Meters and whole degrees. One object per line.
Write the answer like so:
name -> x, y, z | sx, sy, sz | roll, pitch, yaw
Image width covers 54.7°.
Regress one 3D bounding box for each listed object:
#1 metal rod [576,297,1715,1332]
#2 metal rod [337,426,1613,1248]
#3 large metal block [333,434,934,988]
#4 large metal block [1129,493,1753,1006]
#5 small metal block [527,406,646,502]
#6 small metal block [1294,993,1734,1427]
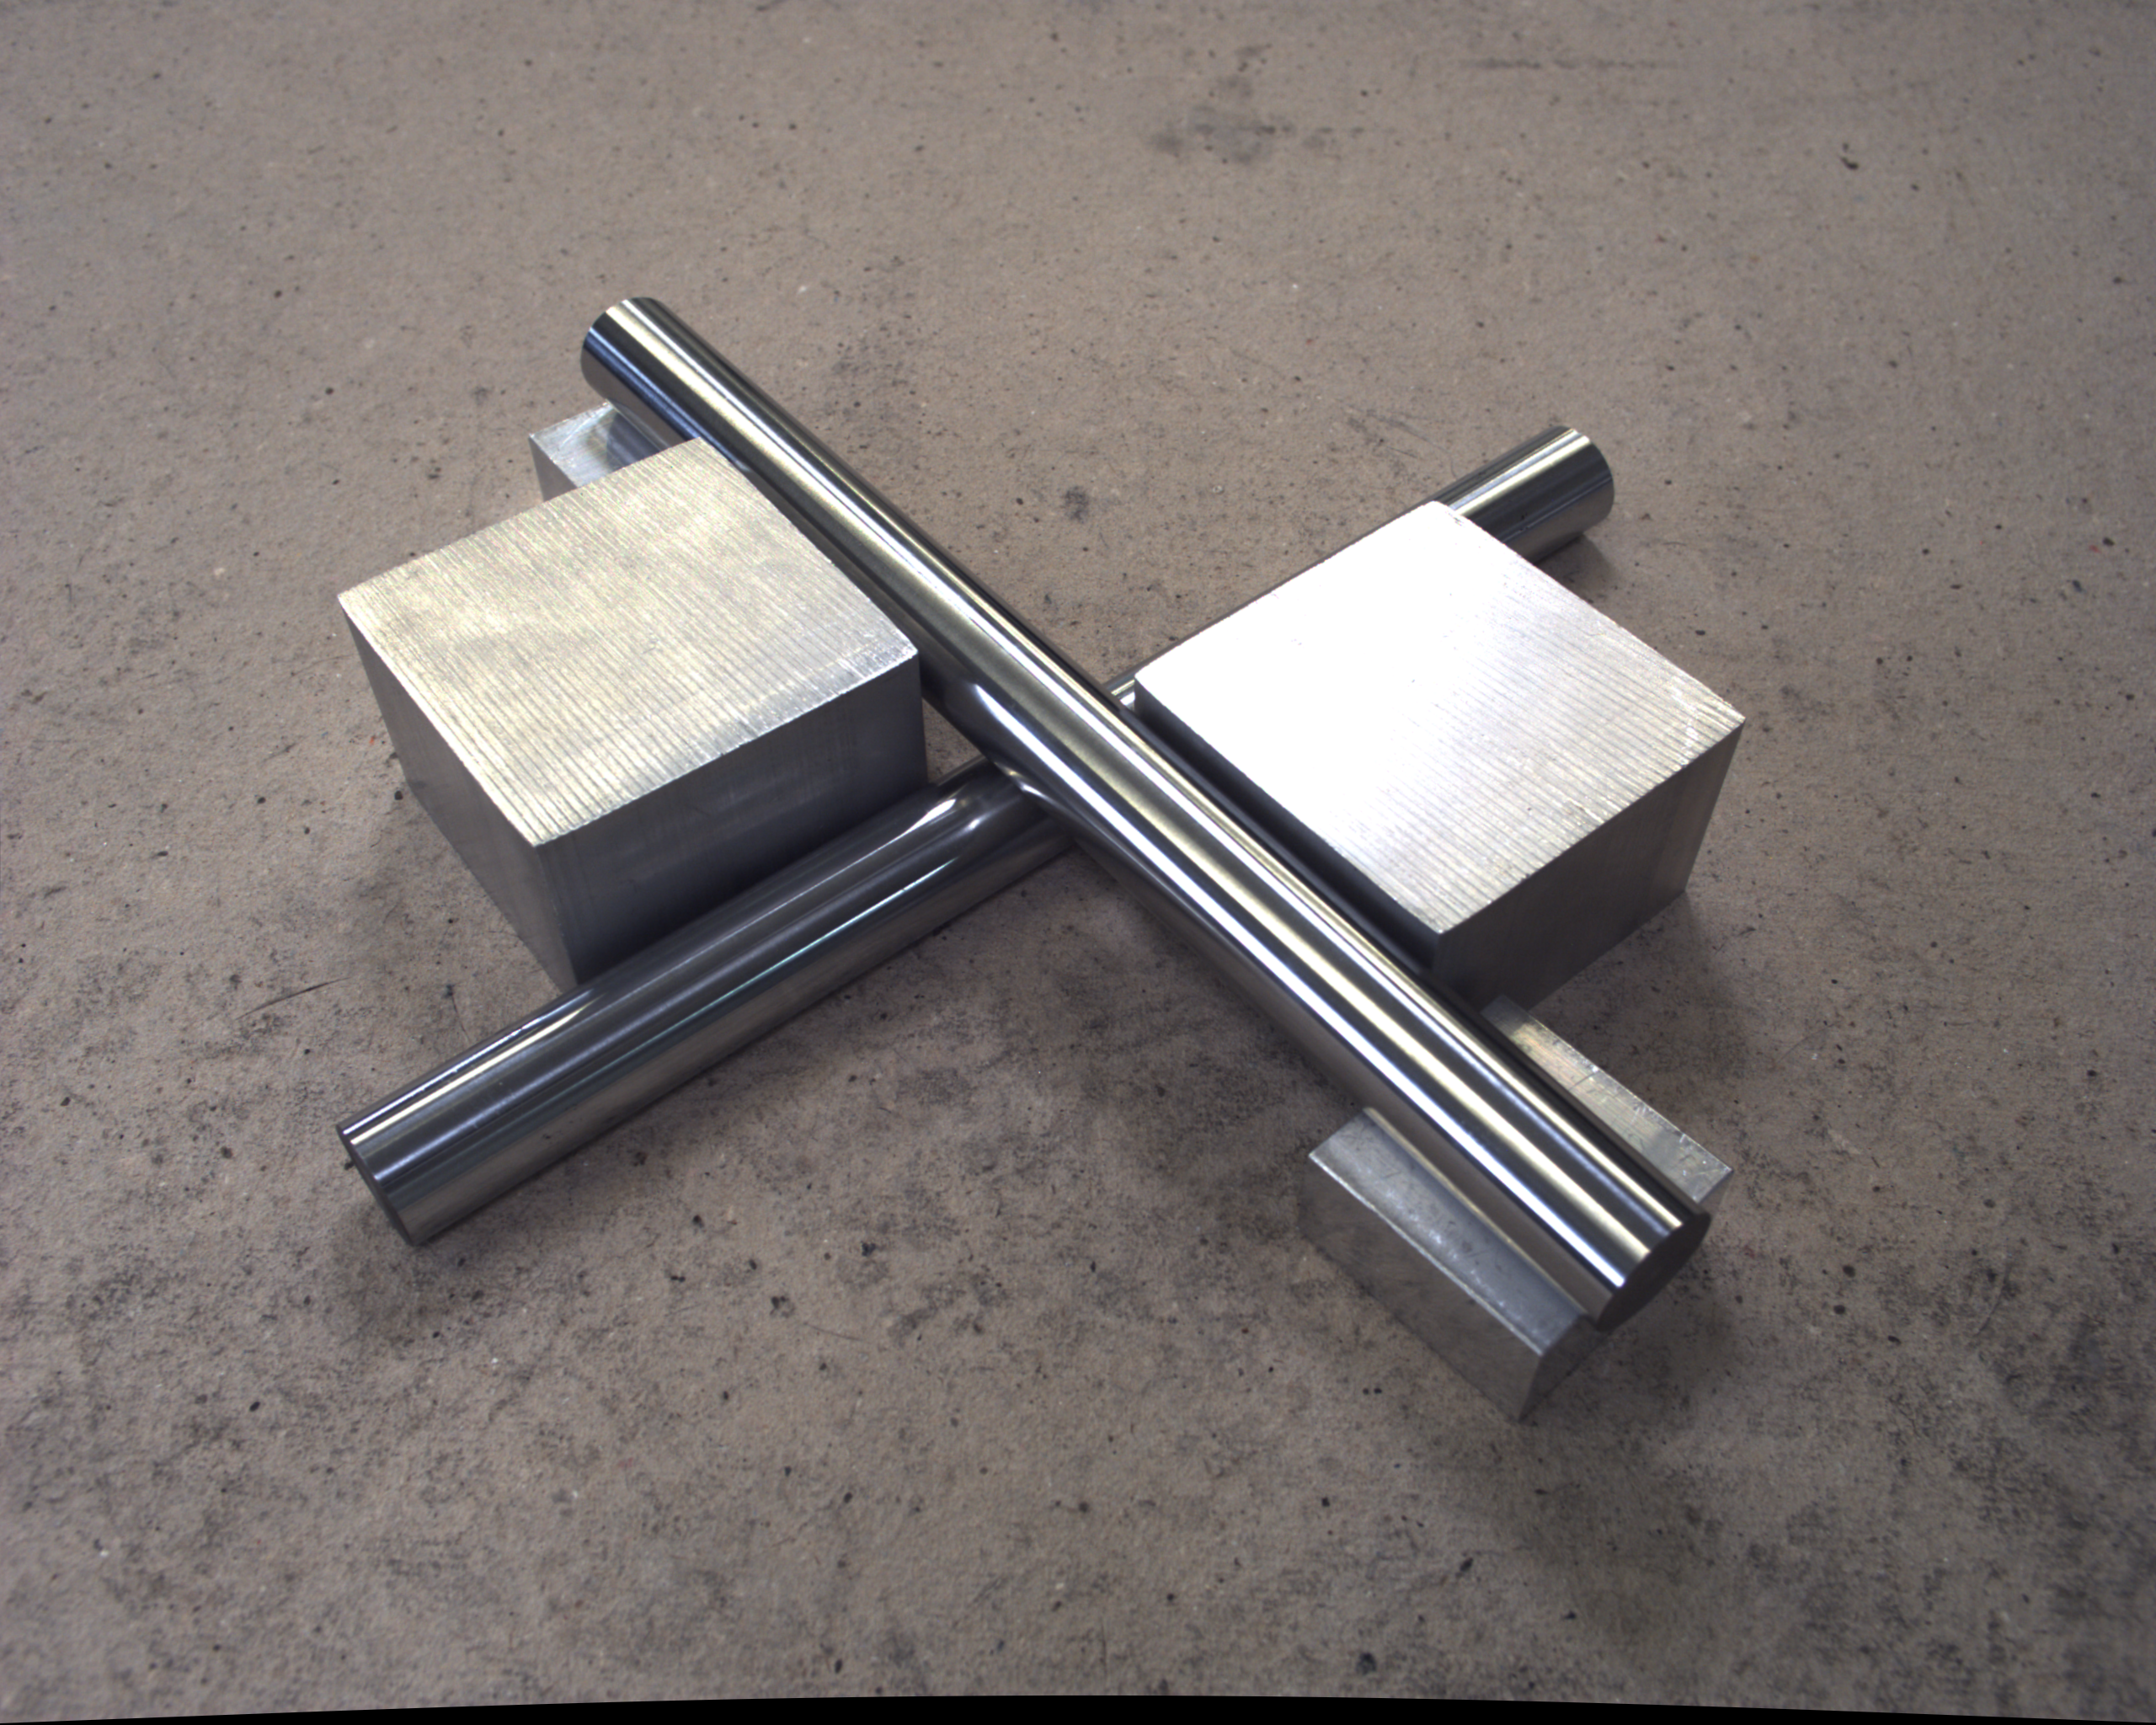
metal rod -> -0.006, -0.026, 0.393 | 0.025, 0.025, 0.300 | -32, 57, -24
metal rod -> -0.003, -0.017, 0.420 | 0.302, 0.025, 0.025 | -32, 57, -24
large metal block -> -0.085, -0.029, 0.410 | 0.081, 0.050, 0.080 | -30, 56, -23
large metal block -> 0.066, -0.015, 0.402 | 0.081, 0.050, 0.080 | -32, 57, -24
small metal block -> -0.089, -0.084, 0.476 | 0.050, 0.025, 0.050 | -30, 56, -23
small metal block -> 0.074, 0.058, 0.357 | 0.050, 0.025, 0.050 | -36, 59, -26
